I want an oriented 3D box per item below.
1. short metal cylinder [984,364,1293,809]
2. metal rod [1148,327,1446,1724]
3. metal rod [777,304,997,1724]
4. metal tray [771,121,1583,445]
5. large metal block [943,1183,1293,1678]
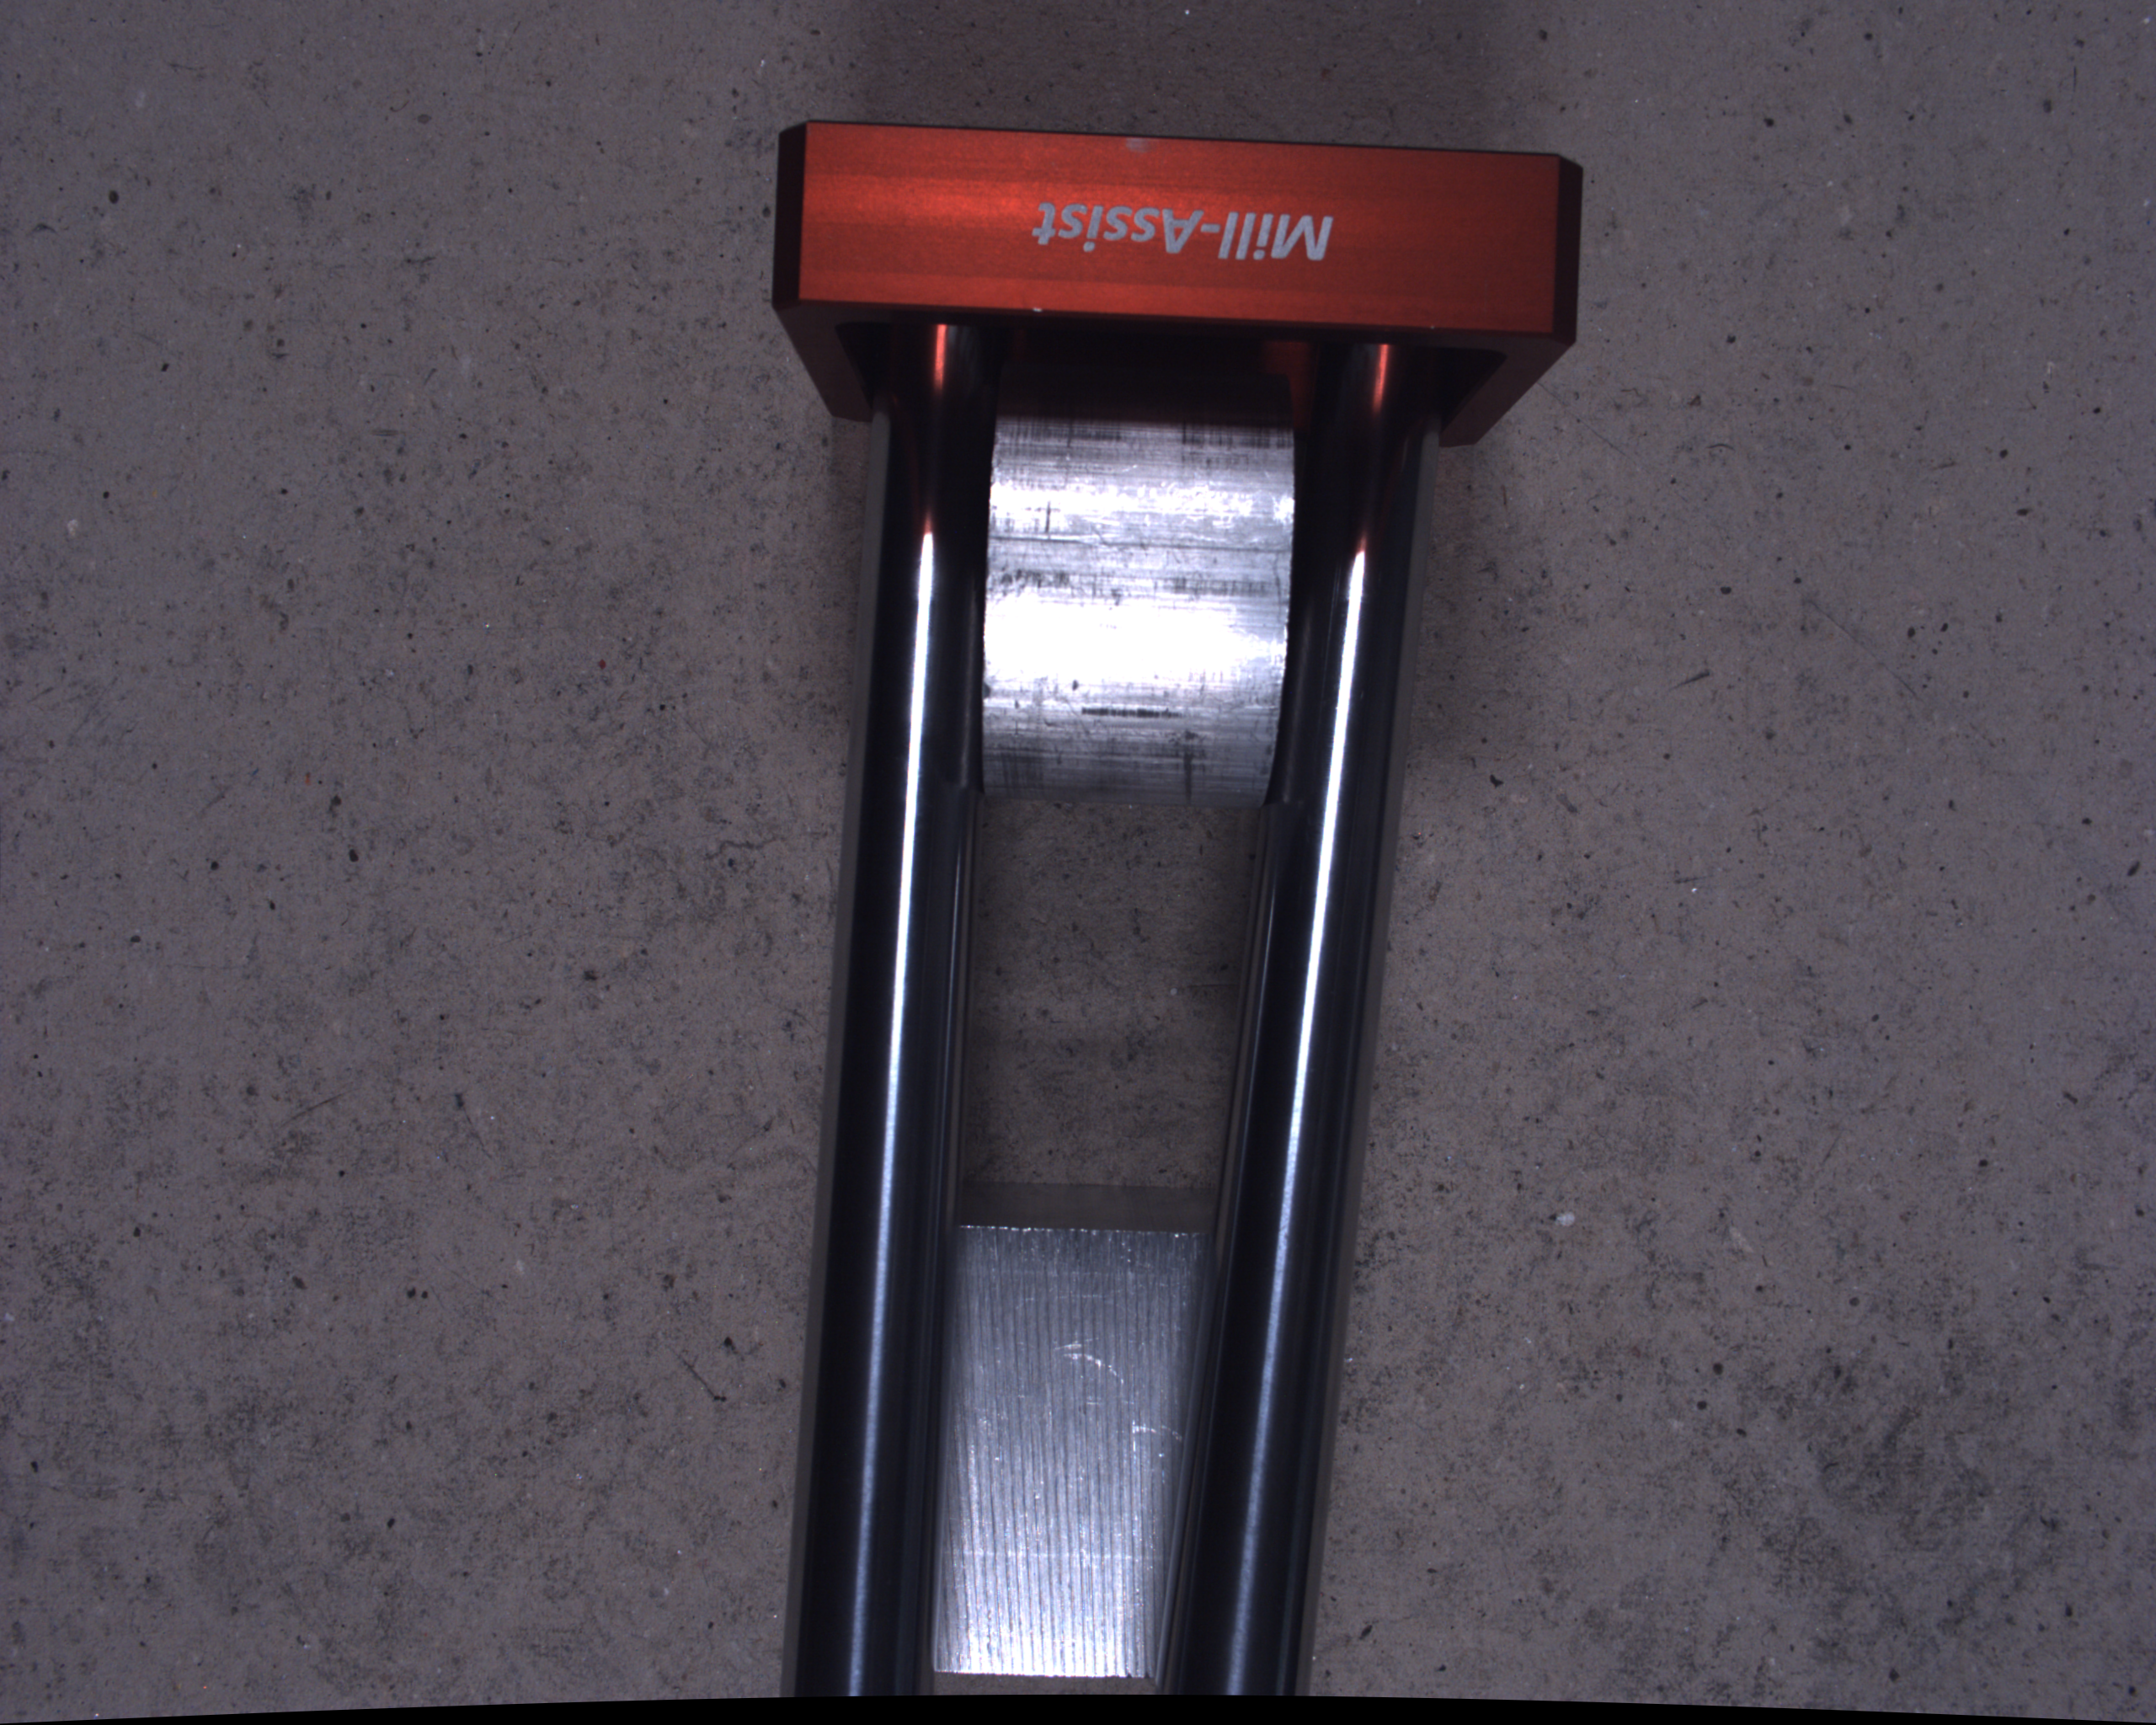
[{"bbox_3d":[0.010,-0.050,0.384,0.050,0.080,0.079,2,90,-1],"label":"short metal cylinder"},{"bbox_3d":[0.038,0.045,0.365,0.025,0.025,0.299,9,75,-1],"label":"metal rod"},{"bbox_3d":[-0.033,0.042,0.365,0.025,0.025,0.299,2,75,-1],"label":"metal rod"},{"bbox_3d":[0.016,-0.102,0.378,0.131,0.090,0.030,2,90,-1],"label":"metal tray"},{"bbox_3d":[0.002,0.105,0.397,0.081,0.050,0.079,2,90,-1],"label":"large metal block"}]
